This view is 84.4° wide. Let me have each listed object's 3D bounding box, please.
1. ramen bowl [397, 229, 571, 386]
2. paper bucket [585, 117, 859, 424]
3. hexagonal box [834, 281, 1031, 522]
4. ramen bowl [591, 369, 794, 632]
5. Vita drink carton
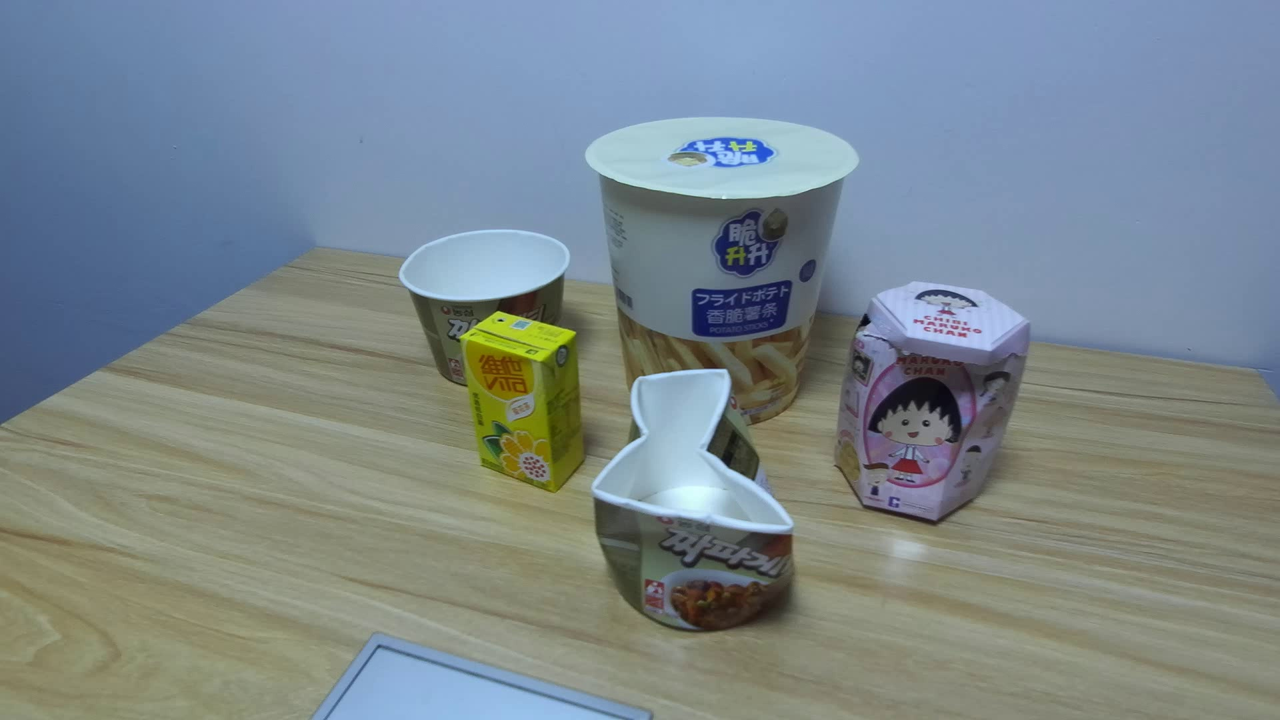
[{"bbox_3d":[-0.126,-0.043,0.610,0.140,0.095,0.140,-1,33,1],"label":"ramen bowl"},{"bbox_3d":[0.058,-0.066,0.547,0.198,0.195,0.198,-1,33,1],"label":"paper bucket"},{"bbox_3d":[0.183,0.026,0.458,0.090,0.134,0.091,-15,34,-25],"label":"hexagonal box"},{"bbox_3d":[0.036,0.077,0.413,0.111,0.093,0.128,6,33,10],"label":"ramen bowl"},{"bbox_3d":[-0.077,0.029,0.482,0.066,0.109,0.044,15,36,24],"label":"Vita drink carton"}]
